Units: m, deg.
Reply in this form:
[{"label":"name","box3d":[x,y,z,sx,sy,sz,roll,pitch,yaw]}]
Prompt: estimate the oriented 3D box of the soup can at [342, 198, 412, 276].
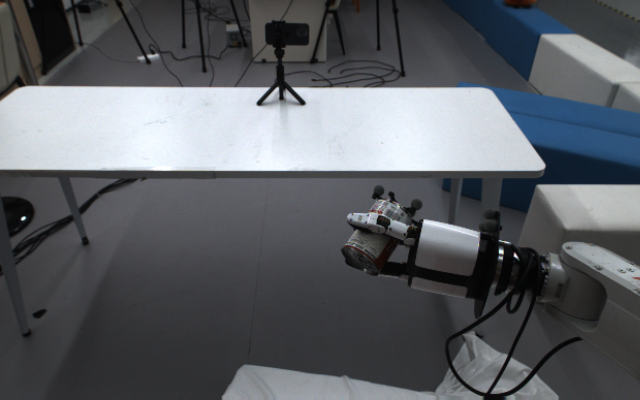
[{"label":"soup can","box3d":[0.088,0.055,0.744,0.067,0.067,0.101,25,67,30]}]
